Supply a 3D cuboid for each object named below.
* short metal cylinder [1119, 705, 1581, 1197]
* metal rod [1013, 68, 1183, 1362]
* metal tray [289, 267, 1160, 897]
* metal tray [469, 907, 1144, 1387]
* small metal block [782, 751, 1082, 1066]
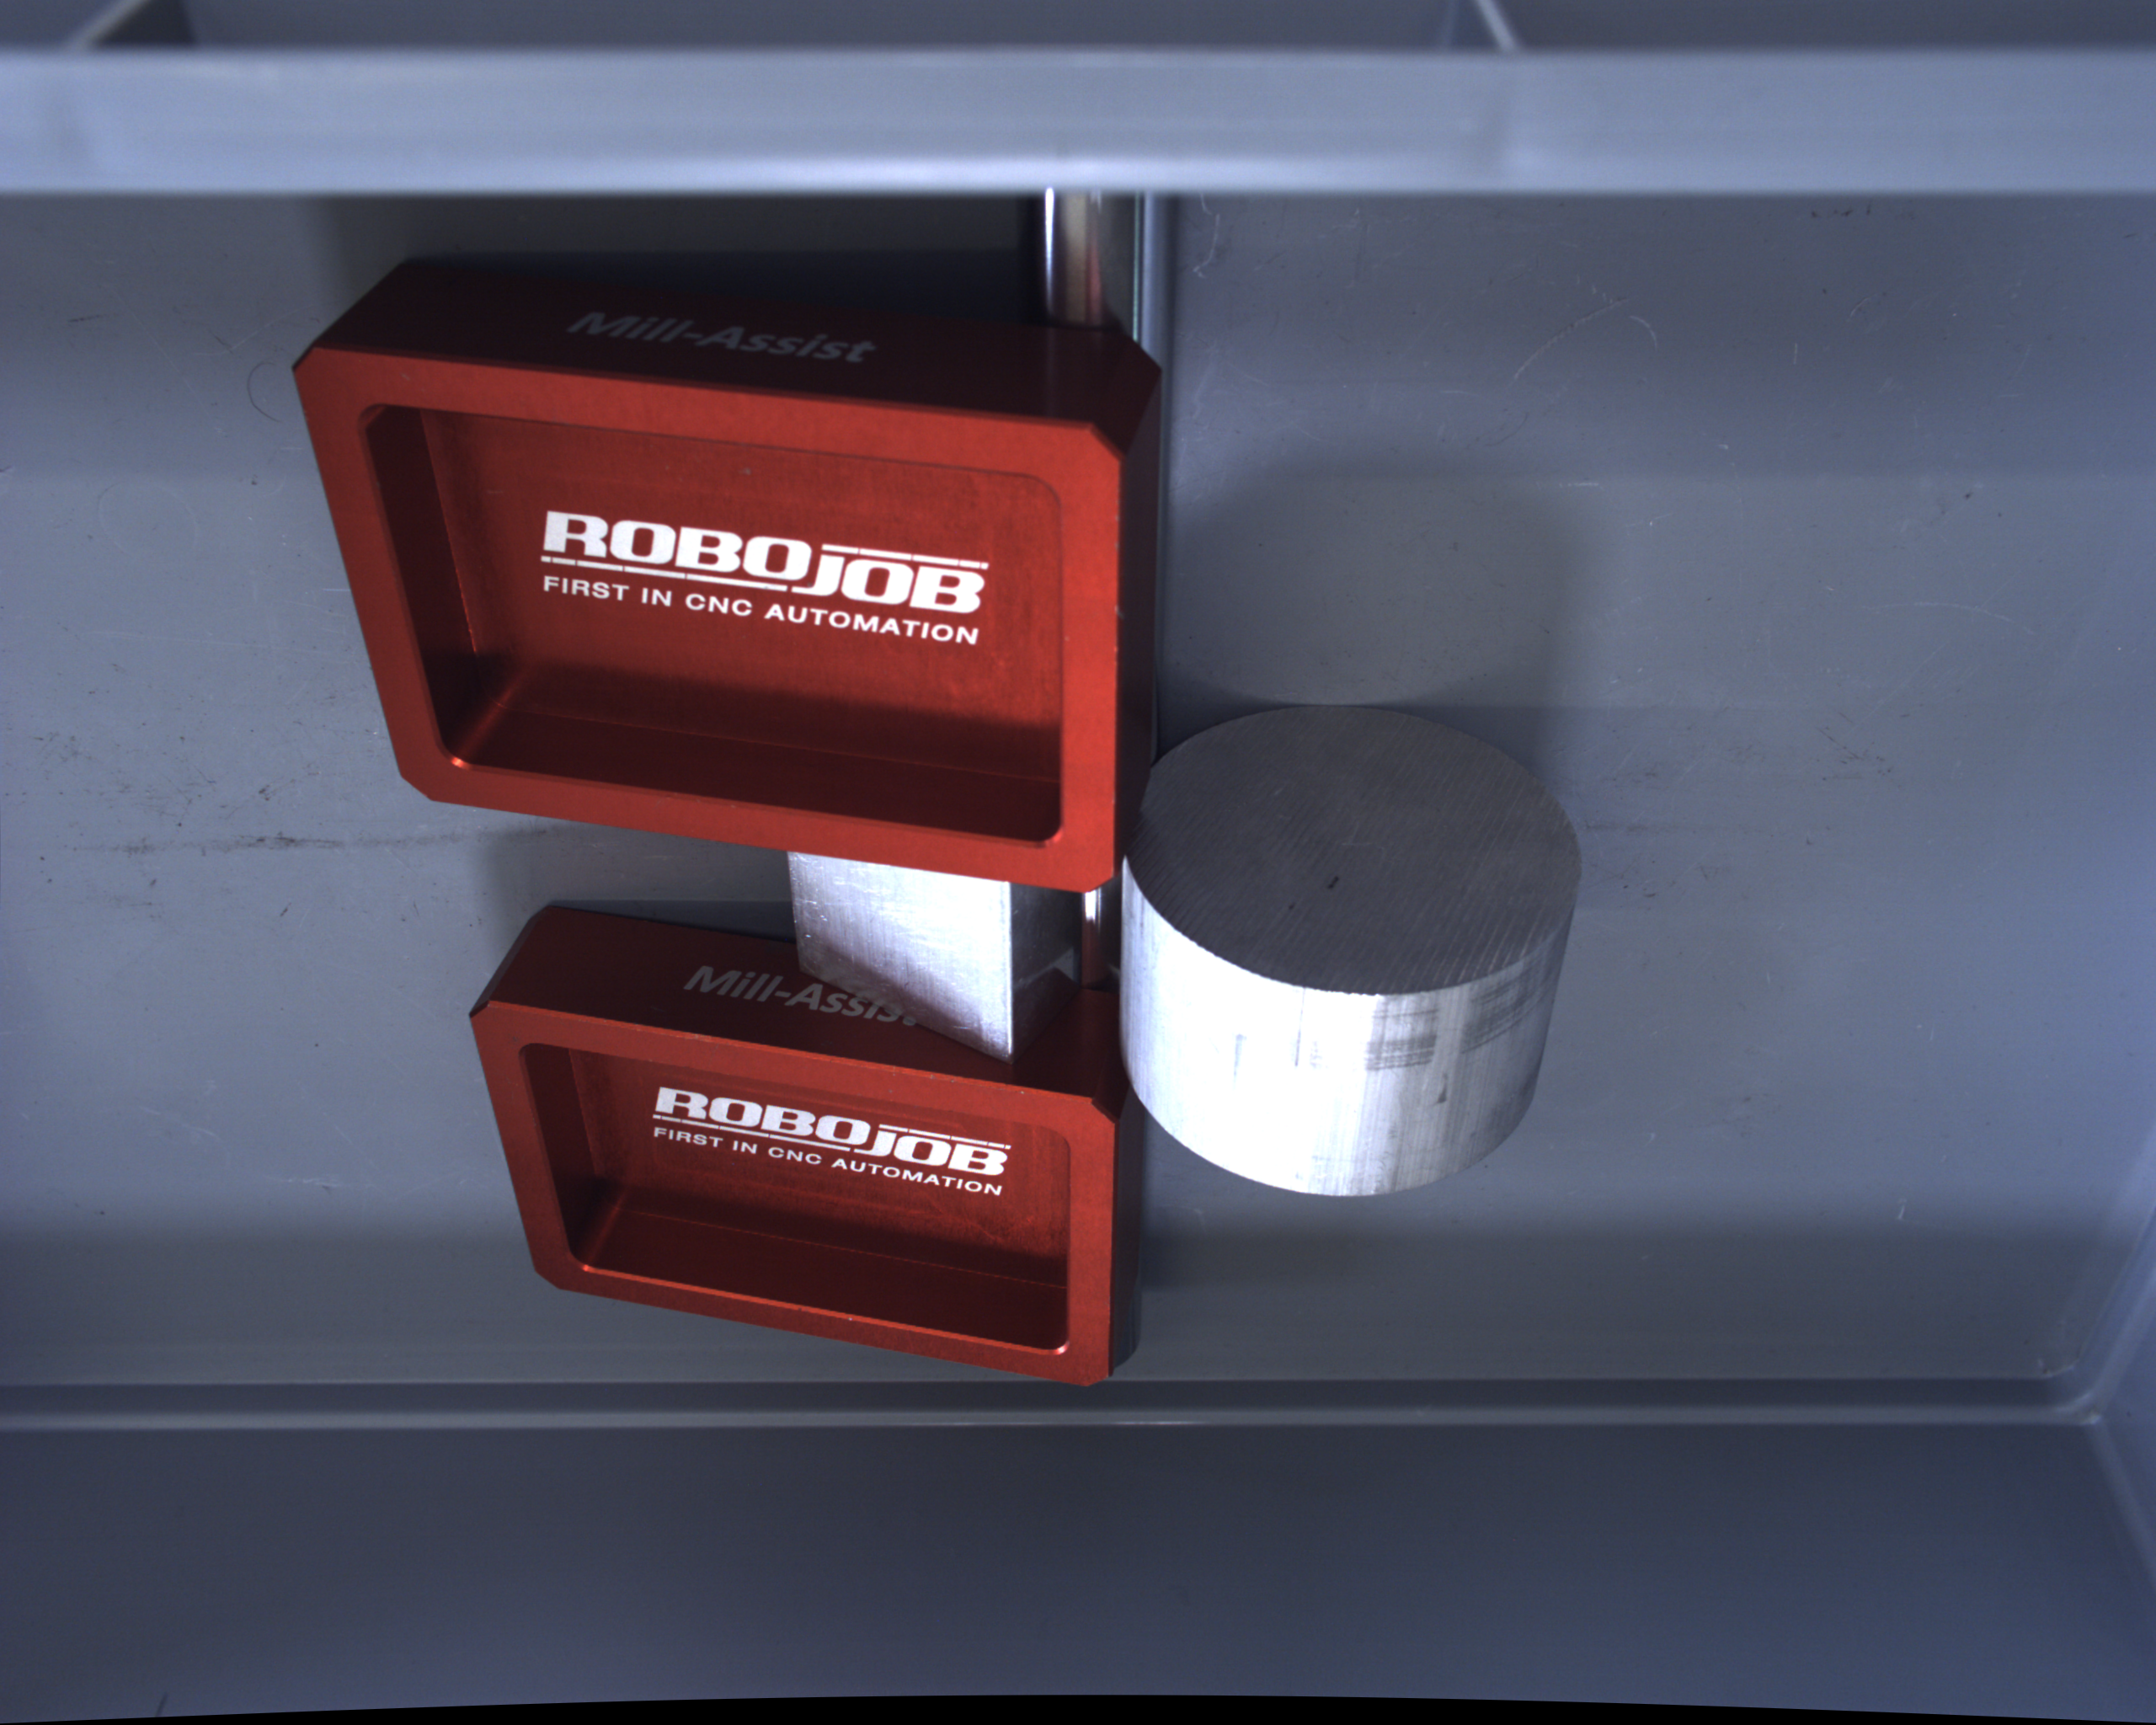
[{"bbox_3d":[0.048,0.015,0.384,0.081,0.080,0.050,0,130,0],"label":"short metal cylinder"},{"bbox_3d":[0.002,0.000,0.406,0.025,0.025,0.298,0,130,0],"label":"metal rod"},{"bbox_3d":[-0.054,-0.045,0.346,0.131,0.030,0.089,8,131,9],"label":"metal tray"},{"bbox_3d":[-0.053,0.061,0.437,0.131,0.030,0.089,8,131,9],"label":"metal tray"},{"bbox_3d":[-0.027,0.004,0.396,0.050,0.025,0.050,22,135,23],"label":"small metal block"}]
